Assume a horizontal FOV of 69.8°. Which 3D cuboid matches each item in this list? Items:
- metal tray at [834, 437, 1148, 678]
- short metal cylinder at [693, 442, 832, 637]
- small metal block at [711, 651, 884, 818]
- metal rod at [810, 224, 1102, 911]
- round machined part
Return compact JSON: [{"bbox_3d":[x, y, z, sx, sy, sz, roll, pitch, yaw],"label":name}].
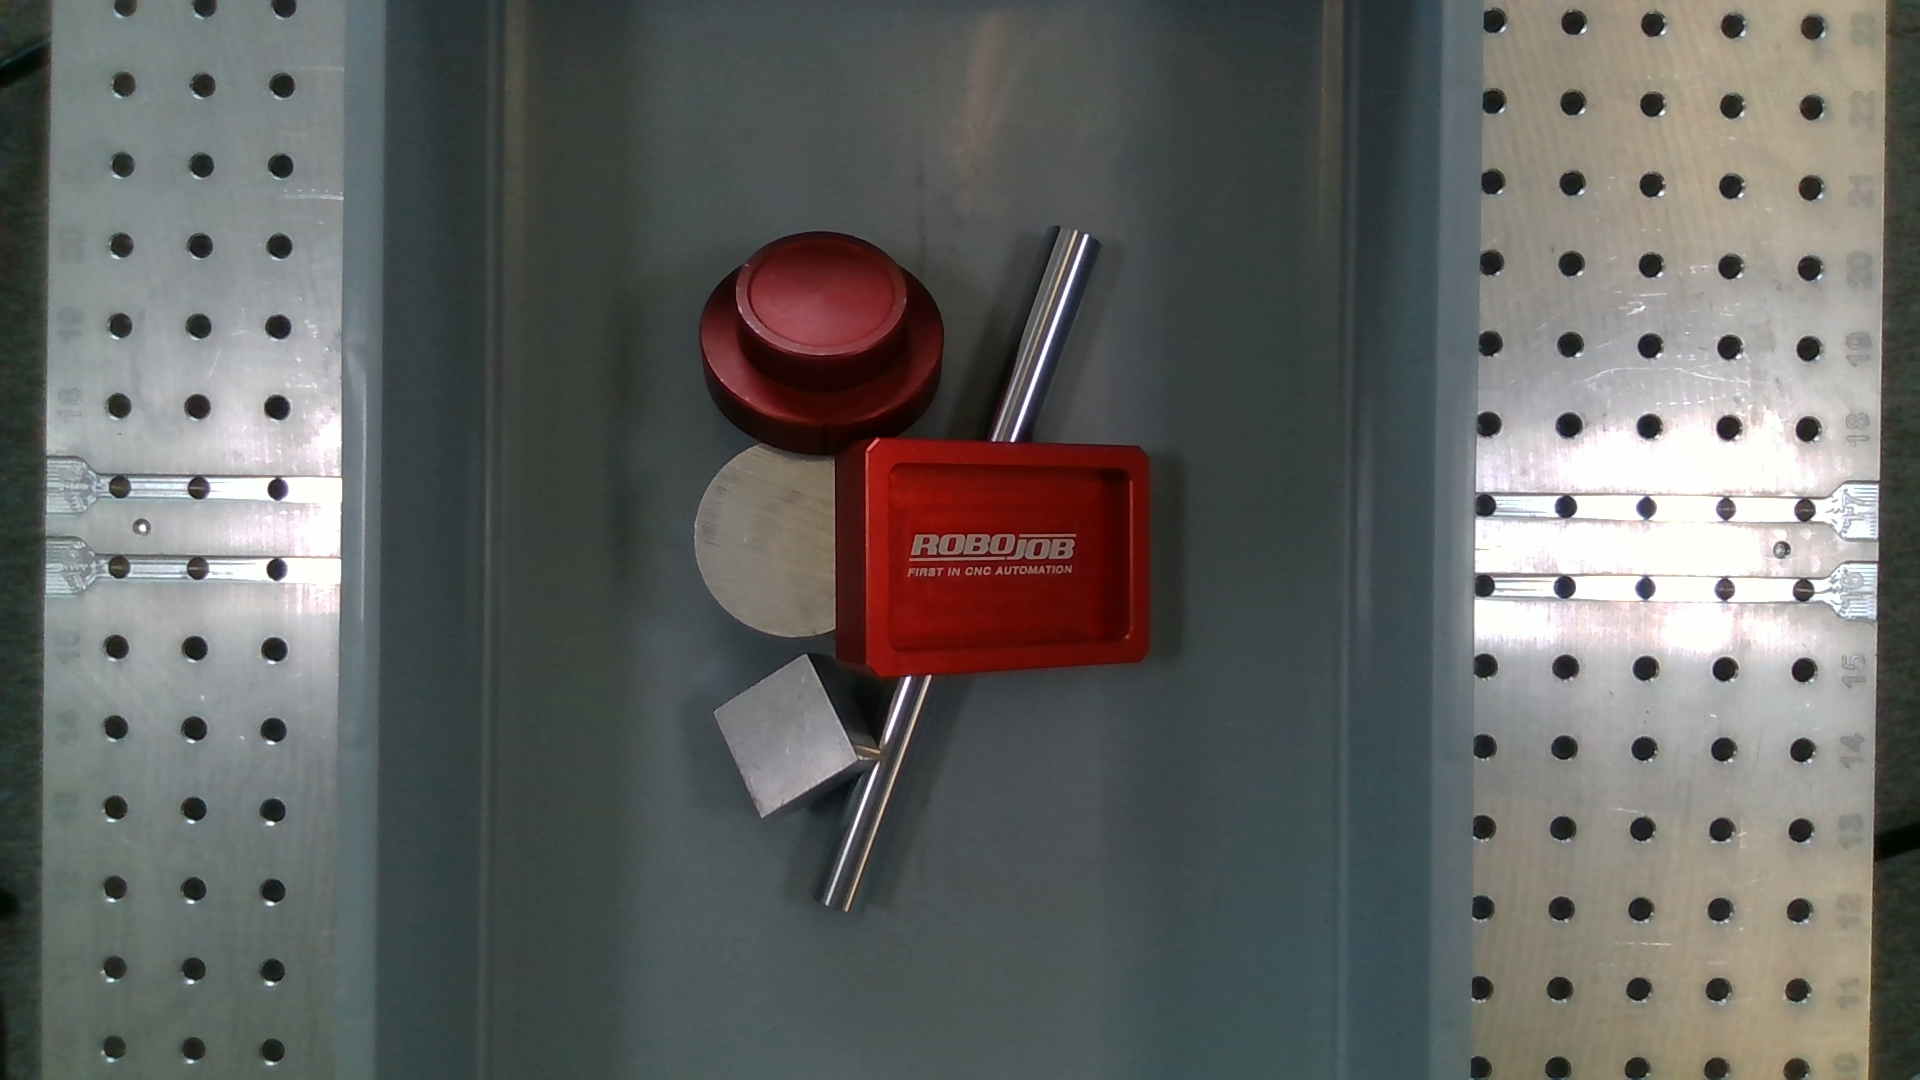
[{"bbox_3d":[0.015,0.006,0.554,0.130,0.030,0.090,-1,91,-29],"label":"metal tray"},{"bbox_3d":[-0.067,-0.001,0.573,0.080,0.050,0.080,0,90,0],"label":"short metal cylinder"},{"bbox_3d":[-0.068,0.081,0.576,0.050,0.025,0.050,-33,74,16],"label":"small metal block"},{"bbox_3d":[-0.002,0.012,0.586,0.025,0.025,0.300,20,91,0],"label":"metal rod"},{"bbox_3d":[-0.056,-0.085,0.553,0.098,0.042,0.098,2,57,-4],"label":"round machined part"}]
